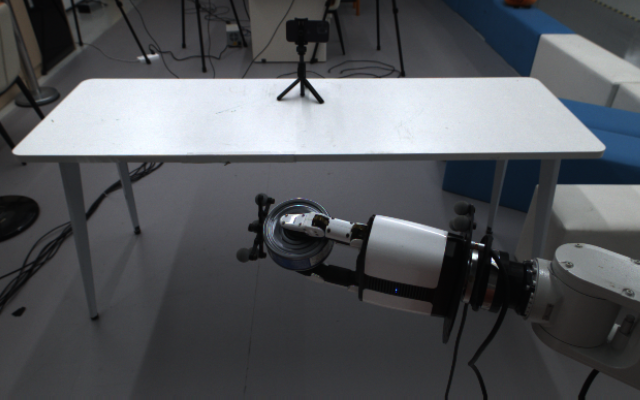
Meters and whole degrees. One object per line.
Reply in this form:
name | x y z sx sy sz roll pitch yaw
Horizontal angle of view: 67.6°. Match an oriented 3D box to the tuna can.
tuna can | -0.022 0.044 0.587 0.085 0.034 0.085 -2 58 3
